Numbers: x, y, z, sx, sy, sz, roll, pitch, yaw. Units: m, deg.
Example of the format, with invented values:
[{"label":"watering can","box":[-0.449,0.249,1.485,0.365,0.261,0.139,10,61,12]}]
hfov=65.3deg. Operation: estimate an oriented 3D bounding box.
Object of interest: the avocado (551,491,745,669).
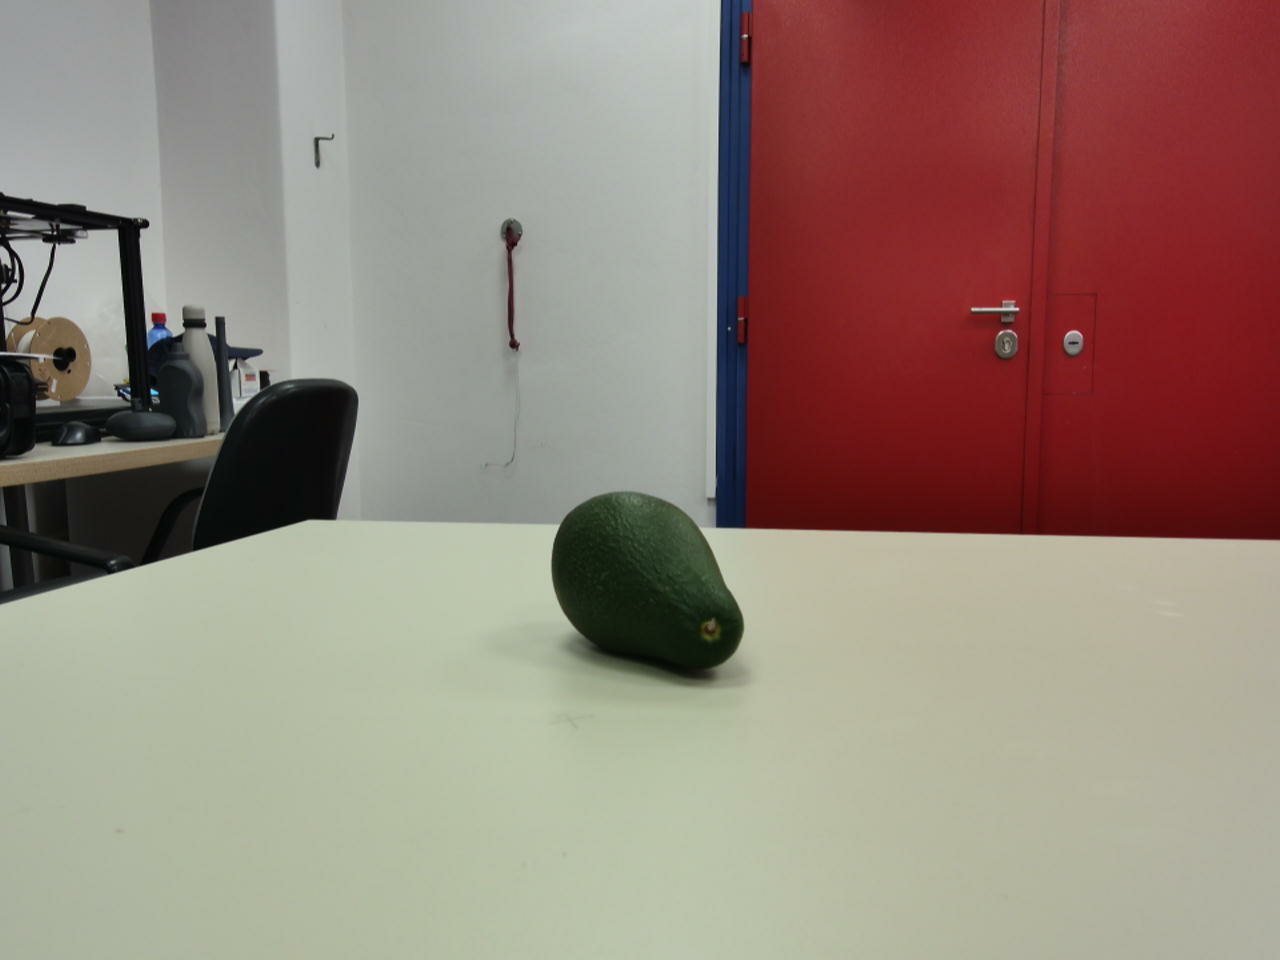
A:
[{"label":"avocado","box":[-0.001,0.042,0.434,0.072,0.071,0.109,-1,4,-10]}]
